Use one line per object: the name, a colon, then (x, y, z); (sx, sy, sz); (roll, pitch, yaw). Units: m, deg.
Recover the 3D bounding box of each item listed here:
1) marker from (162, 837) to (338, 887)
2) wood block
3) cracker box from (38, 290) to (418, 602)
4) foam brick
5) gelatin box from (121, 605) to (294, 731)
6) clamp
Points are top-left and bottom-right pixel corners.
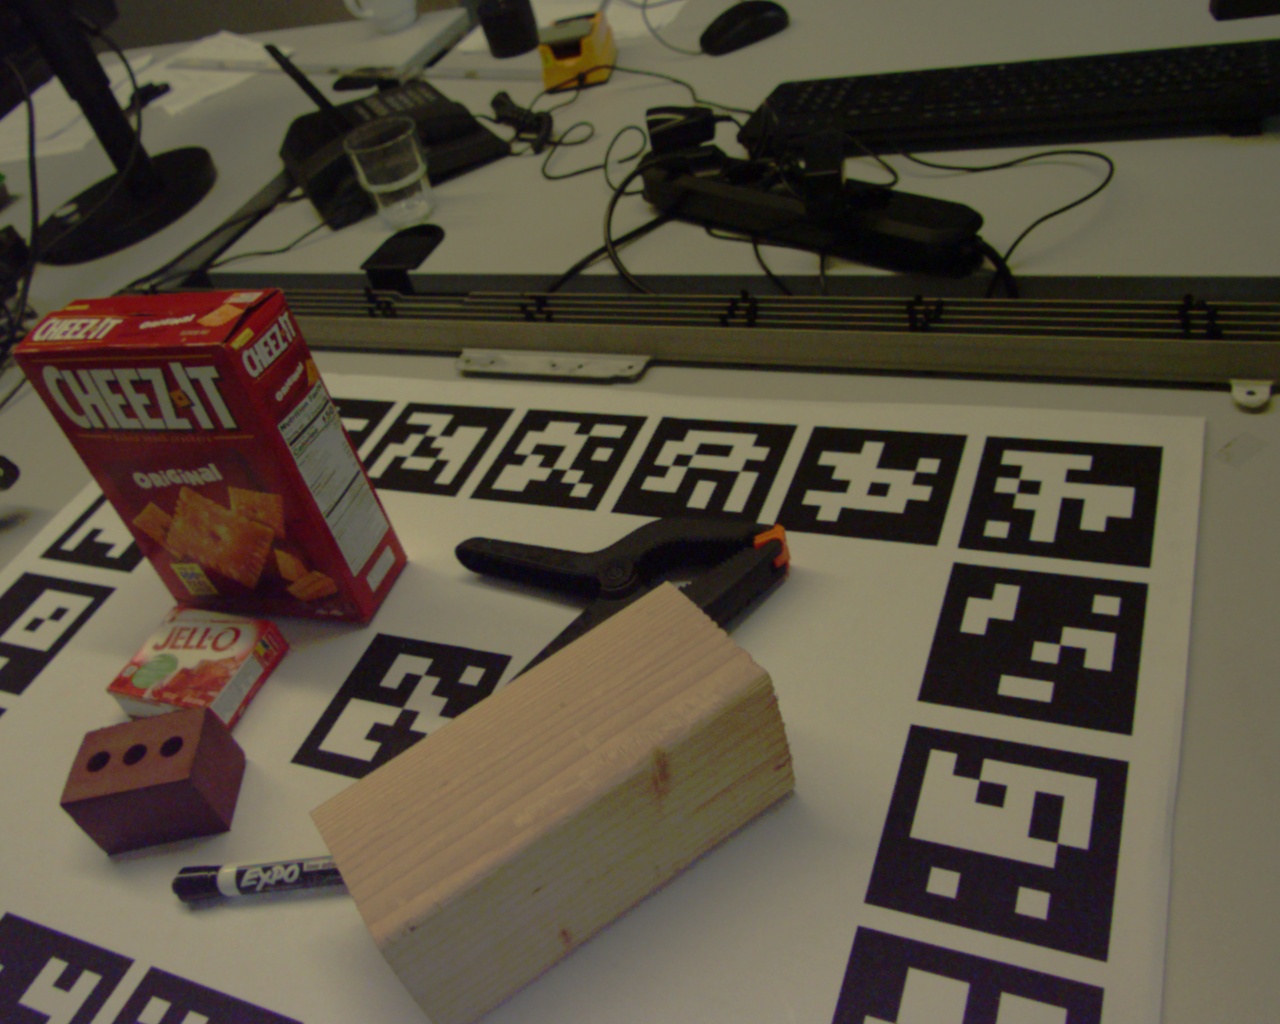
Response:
marker: (-0.210, 0.193, 0.632); (0.122, 0.019, 0.020); (-9, 44, 12)
wood block: (-0.048, 0.140, 0.579); (0.205, 0.090, 0.091); (-31, 40, -16)
cracker box: (-0.263, -0.037, 0.748); (0.166, 0.212, 0.072); (4, 45, 22)
foam brick: (-0.283, 0.153, 0.681); (0.078, 0.051, 0.053); (-13, 44, 9)
gelatin box: (-0.287, 0.102, 0.758); (0.090, 0.030, 0.073); (5, 49, 26)
clamp: (-0.023, 0.047, 0.702); (0.203, 0.036, 0.166); (-17, 42, 4)
